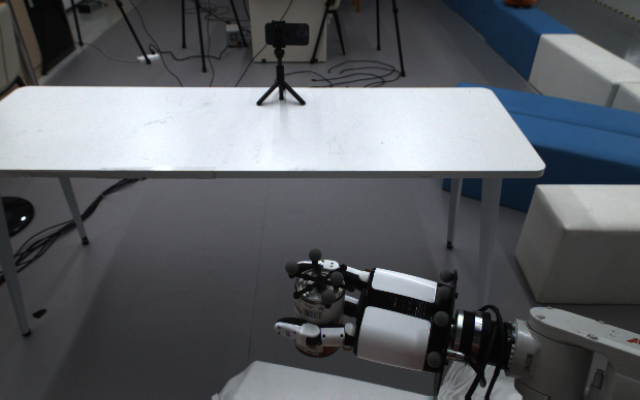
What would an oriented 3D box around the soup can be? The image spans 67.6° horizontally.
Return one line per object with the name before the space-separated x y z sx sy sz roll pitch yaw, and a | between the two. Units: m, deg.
soup can | 0.001 0.151 0.645 0.067 0.101 0.067 2 32 -1
